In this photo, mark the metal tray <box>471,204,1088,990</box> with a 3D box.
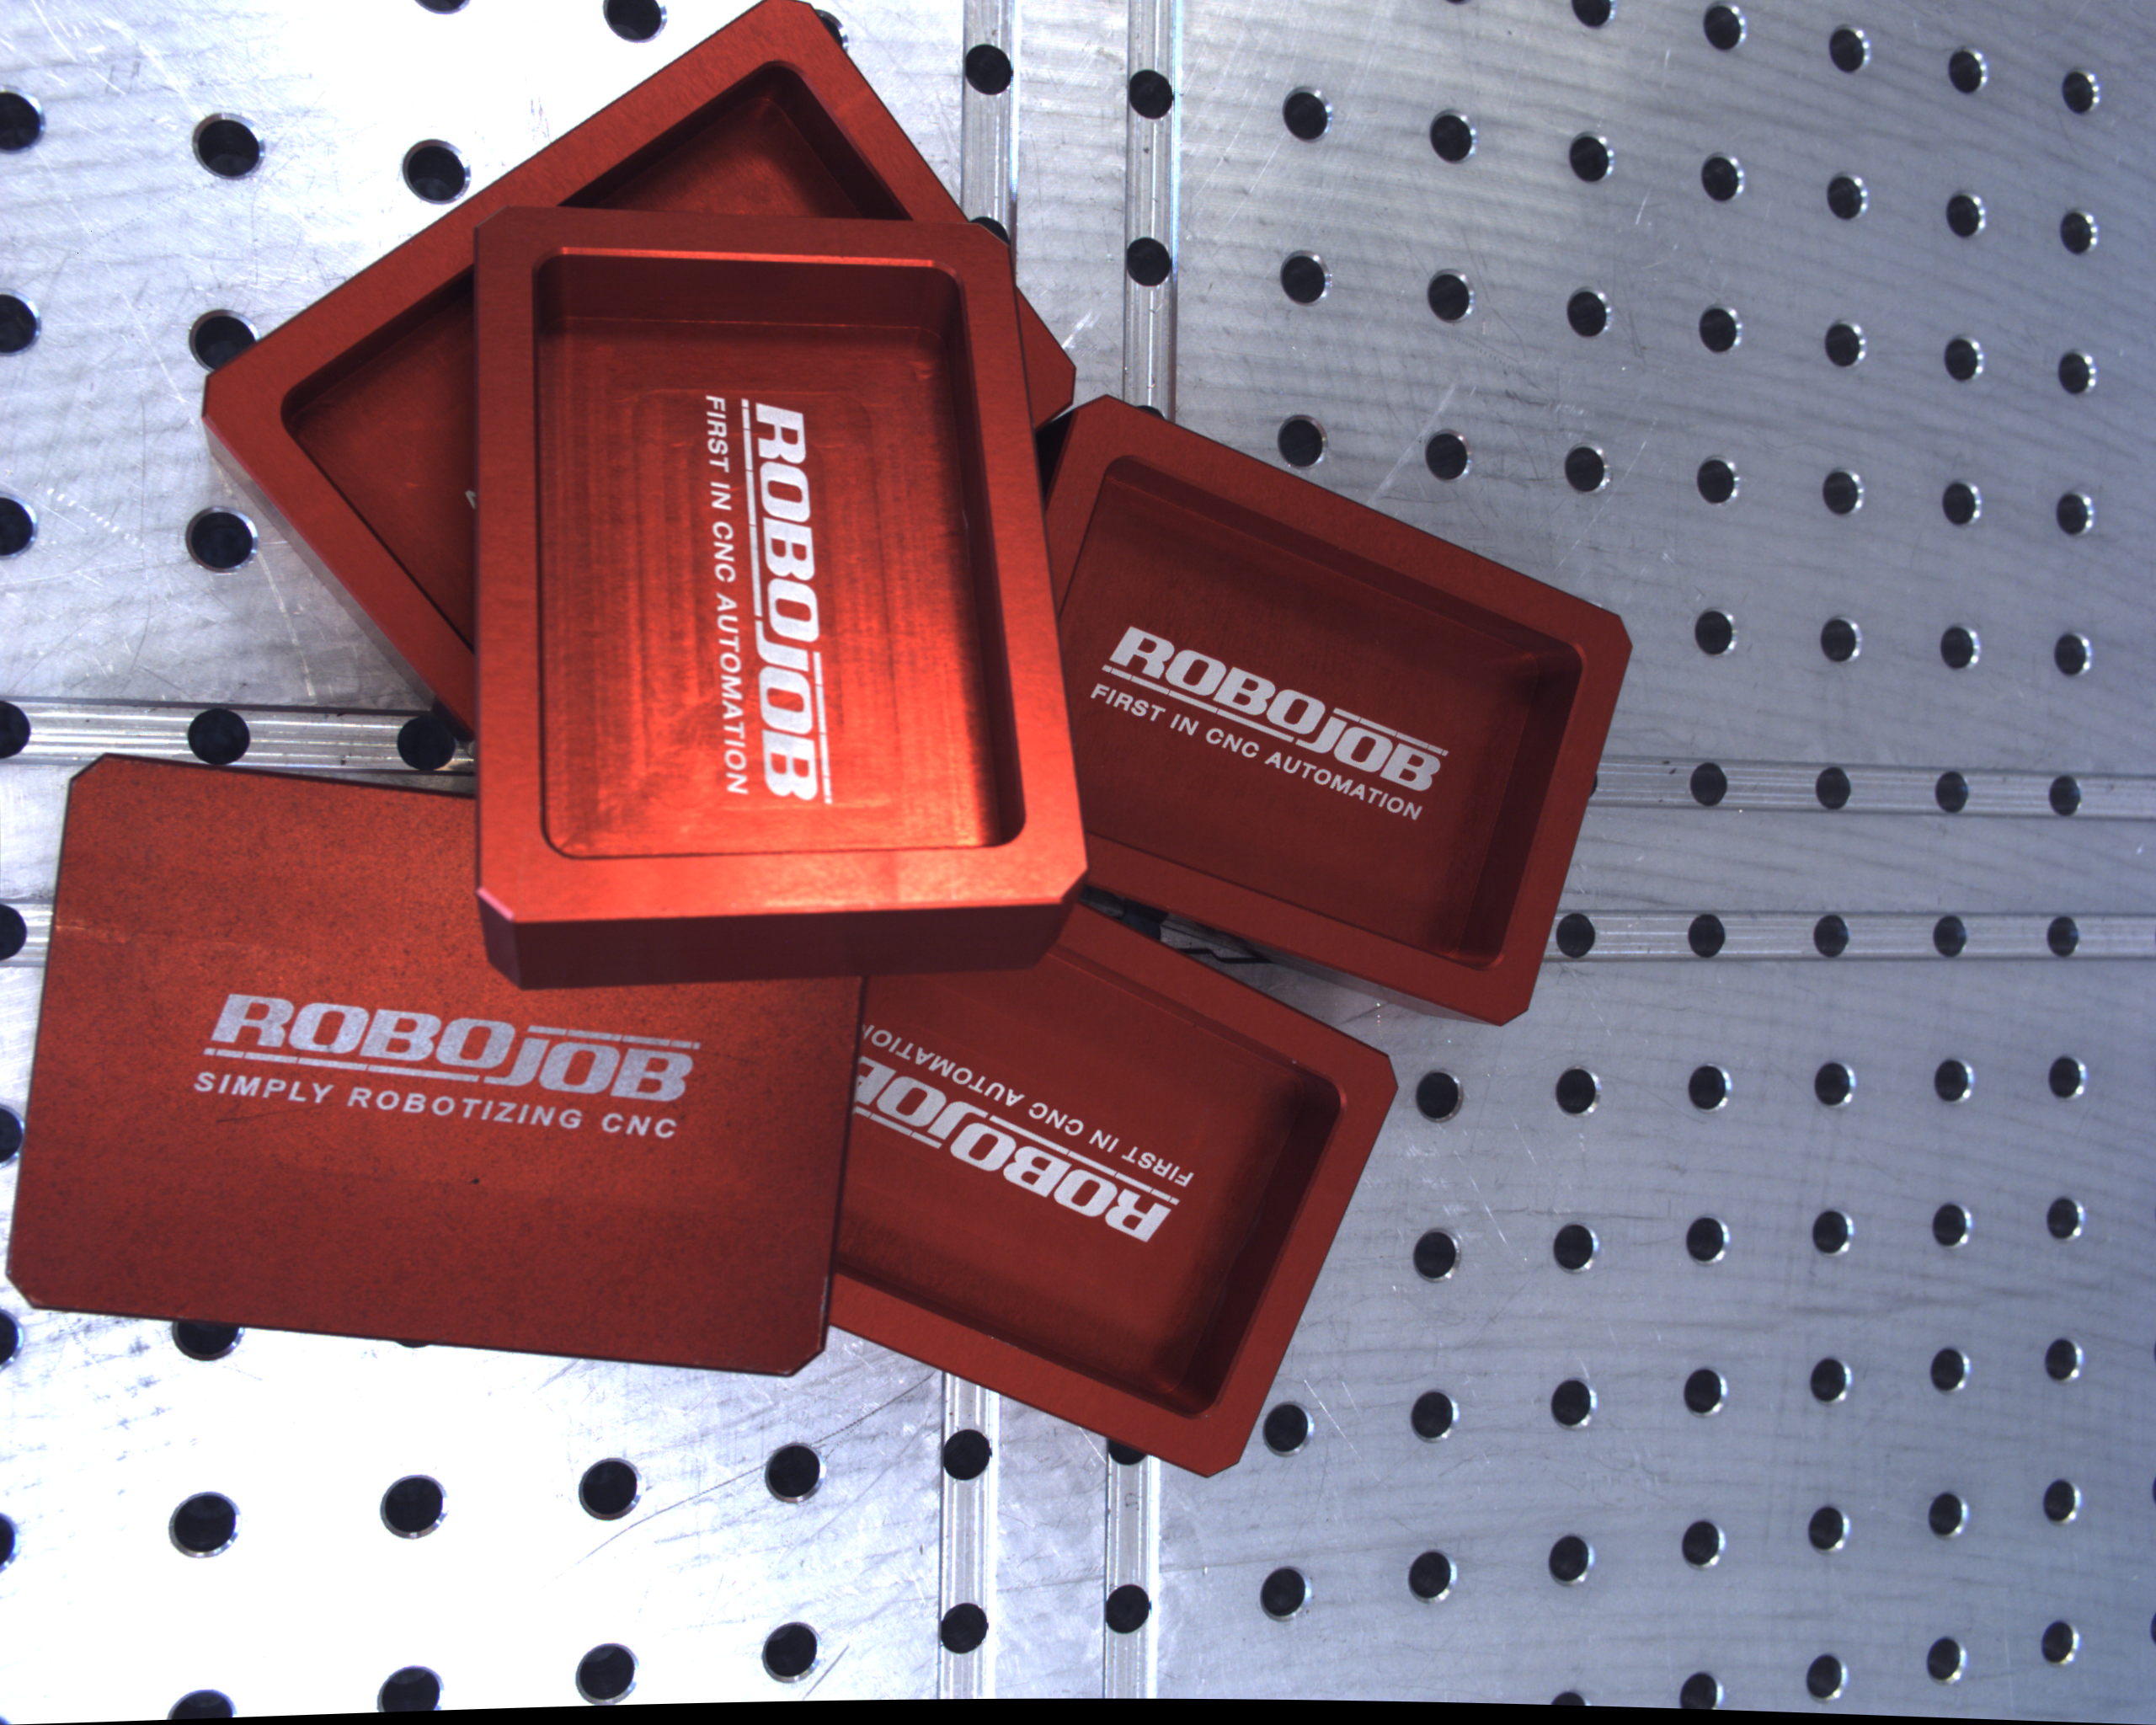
[{"bbox_3d":[-0.052,-0.046,0.345,0.091,0.030,0.130,-2,67,-13],"label":"metal tray"}]

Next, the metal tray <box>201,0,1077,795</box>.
[{"bbox_3d":[-0.077,-0.083,0.380,0.130,0.030,0.090,-41,102,-15],"label":"metal tray"}]

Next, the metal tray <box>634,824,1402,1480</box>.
[{"bbox_3d":[-0.012,0.053,0.404,0.131,0.030,0.090,27,82,-18],"label":"metal tray"}]

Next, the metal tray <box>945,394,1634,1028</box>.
[{"bbox_3d":[0.041,-0.028,0.423,0.131,0.030,0.090,19,84,-19],"label":"metal tray"}]

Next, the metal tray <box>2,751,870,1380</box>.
[{"bbox_3d":[-0.103,0.034,0.354,0.131,0.030,0.090,7,88,-6],"label":"metal tray"}]
